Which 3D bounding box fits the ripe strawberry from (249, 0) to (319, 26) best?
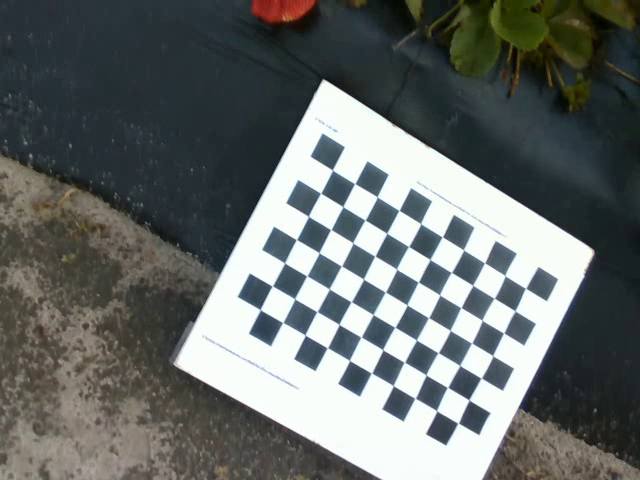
[{"bbox_3d":[-0.015,-0.222,0.647,0.067,0.075,0.039,34,-8,-6],"label":"ripe strawberry"}]
